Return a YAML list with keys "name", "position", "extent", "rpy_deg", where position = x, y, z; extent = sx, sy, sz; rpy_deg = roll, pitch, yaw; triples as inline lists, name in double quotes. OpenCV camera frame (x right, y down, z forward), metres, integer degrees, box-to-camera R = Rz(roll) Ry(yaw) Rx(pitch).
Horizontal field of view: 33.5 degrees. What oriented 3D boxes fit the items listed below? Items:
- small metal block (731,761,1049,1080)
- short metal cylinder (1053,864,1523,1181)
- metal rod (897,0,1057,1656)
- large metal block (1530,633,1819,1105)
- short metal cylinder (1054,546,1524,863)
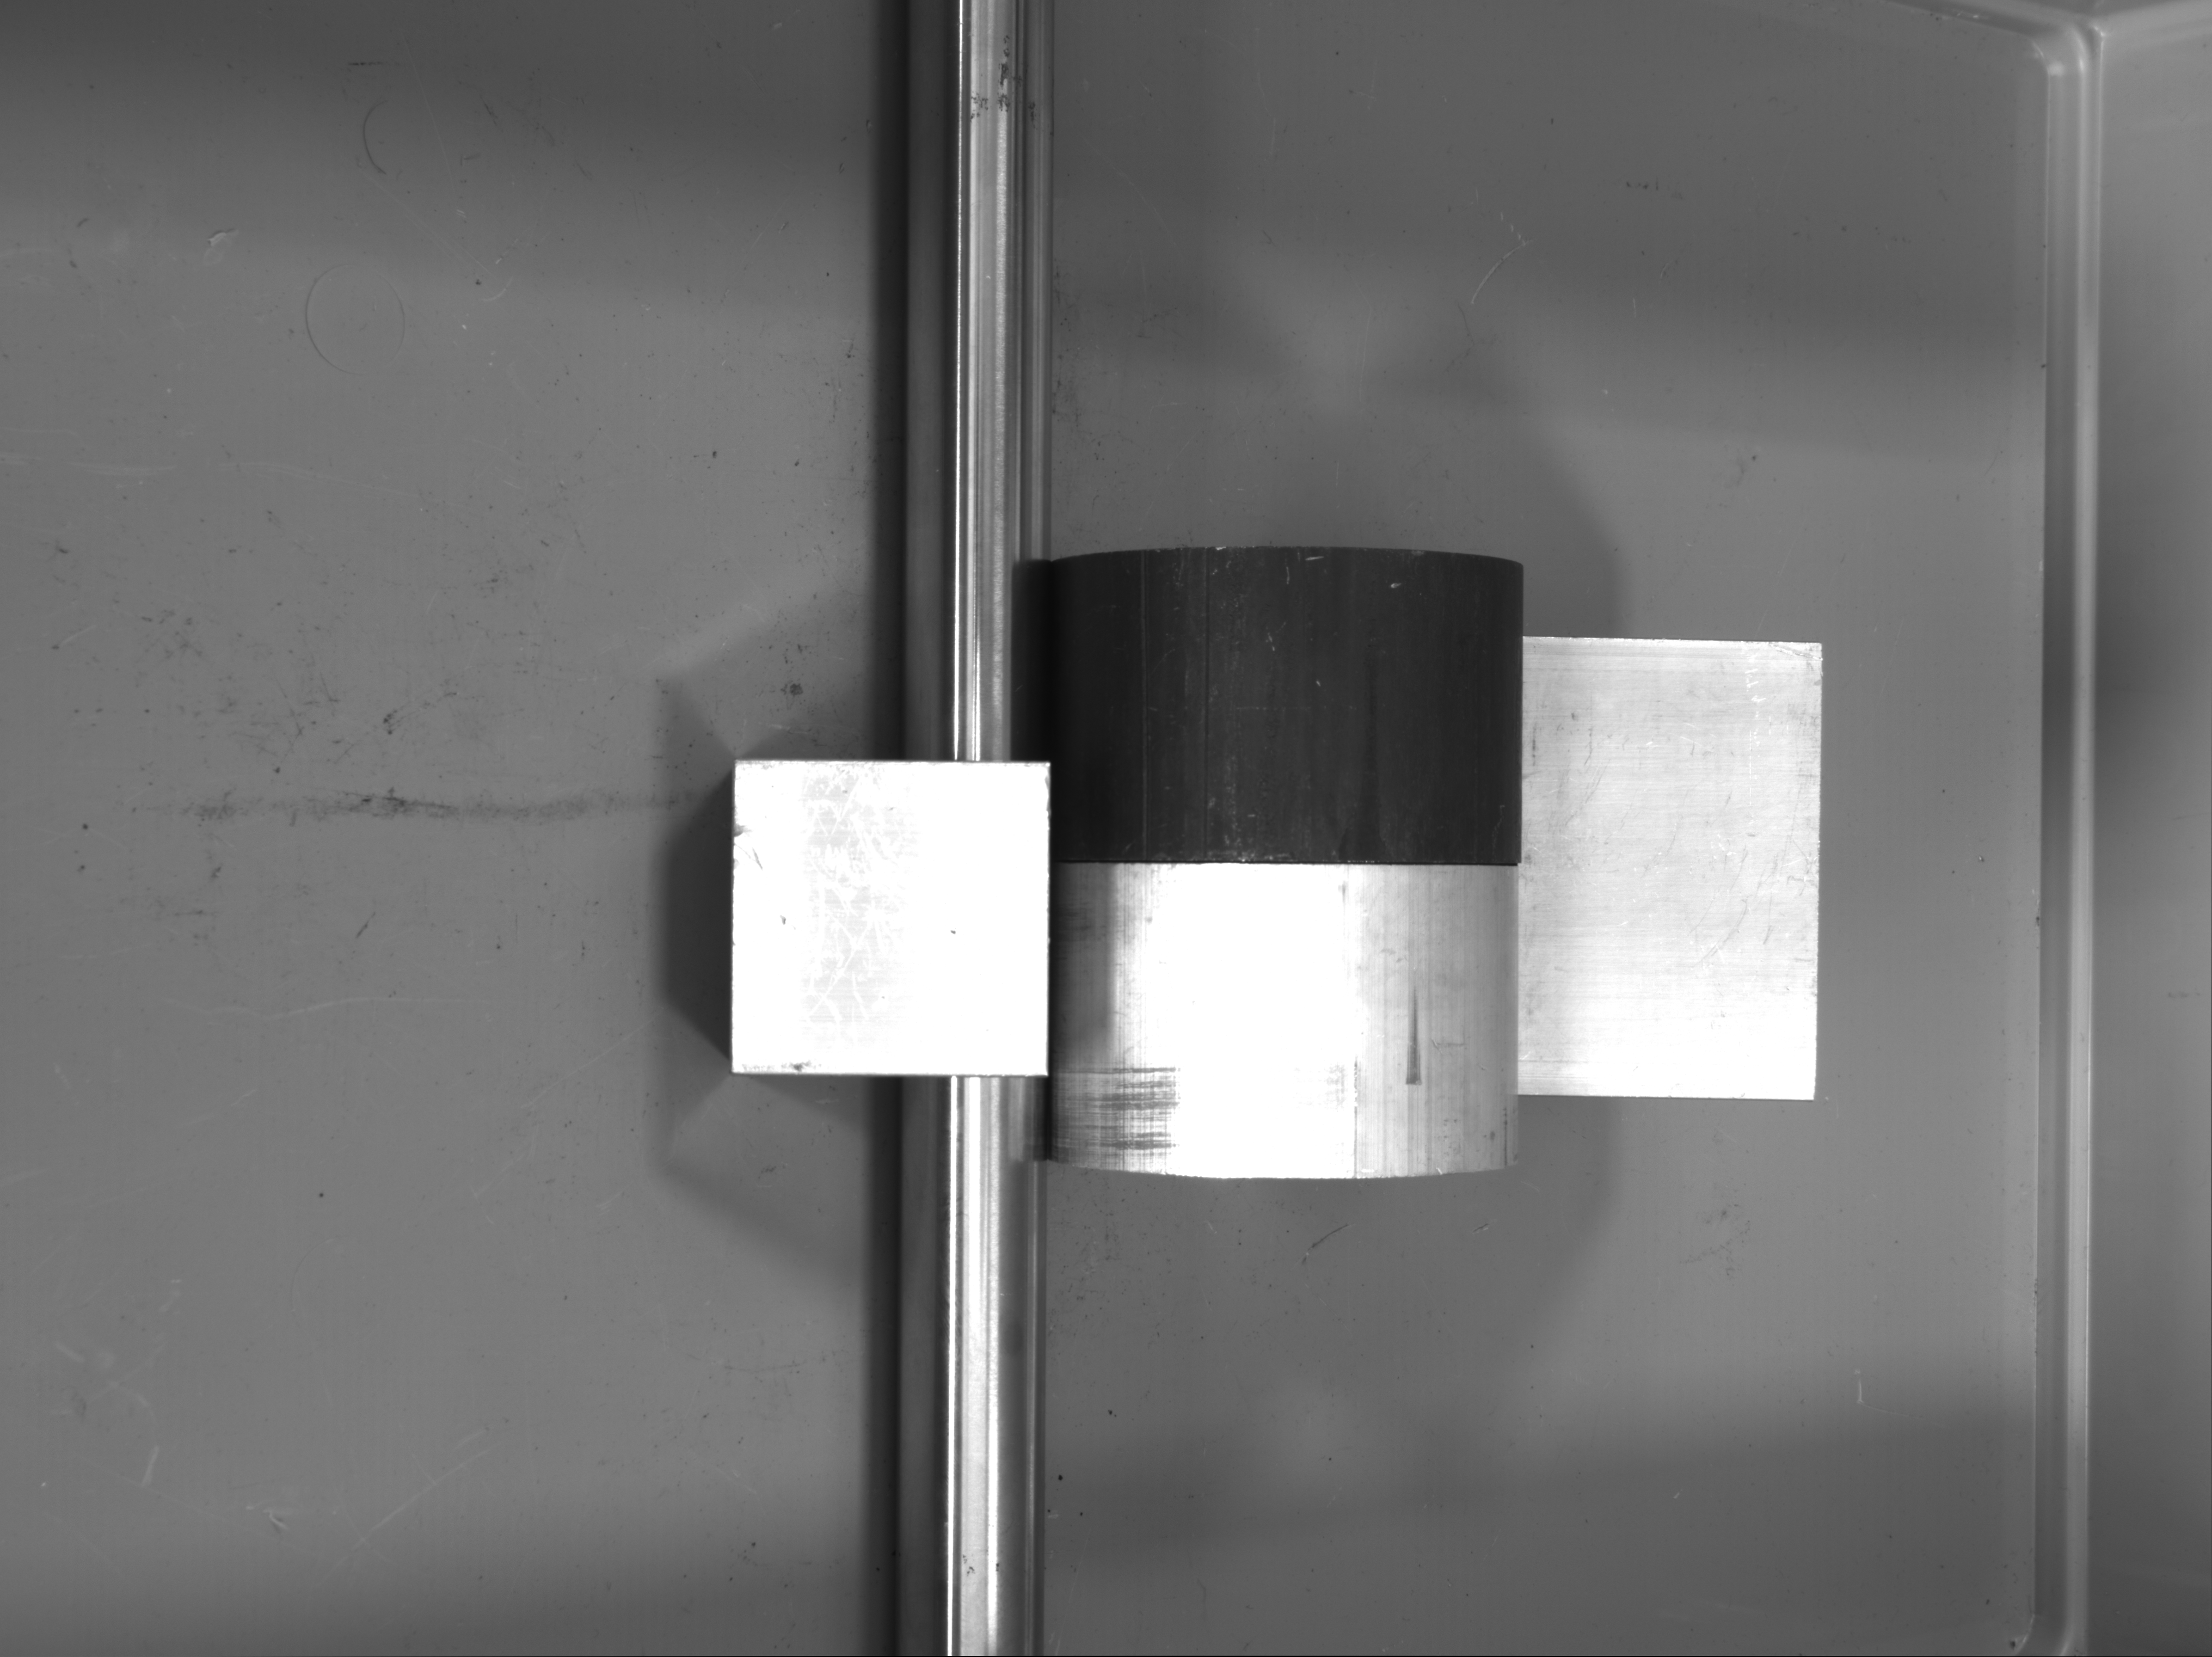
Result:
- name: "small metal block"
  position: [-0.035, 0.015, 0.591]
  extent: [0.050, 0.025, 0.050]
  rpy_deg: [0, 89, -5]
- name: "short metal cylinder"
  position: [0.031, 0.031, 0.624]
  extent: [0.080, 0.080, 0.050]
  rpy_deg: [1, 89, -40]
- name: "metal rod"
  position: [-0.022, -0.001, 0.616]
  extent: [0.025, 0.025, 0.300]
  rpy_deg: [1, 90, -40]
- name: "large metal block"
  position: [0.096, 0.007, 0.669]
  extent: [0.050, 0.080, 0.080]
  rpy_deg: [1, 90, -2]
- name: "short metal cylinder"
  position: [0.031, -0.020, 0.624]
  extent: [0.080, 0.080, 0.050]
  rpy_deg: [1, 89, -40]
